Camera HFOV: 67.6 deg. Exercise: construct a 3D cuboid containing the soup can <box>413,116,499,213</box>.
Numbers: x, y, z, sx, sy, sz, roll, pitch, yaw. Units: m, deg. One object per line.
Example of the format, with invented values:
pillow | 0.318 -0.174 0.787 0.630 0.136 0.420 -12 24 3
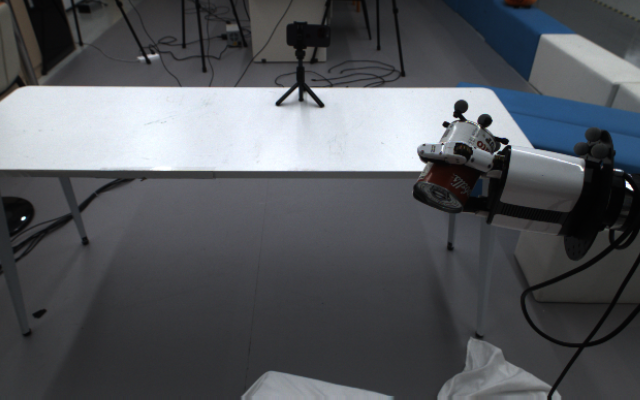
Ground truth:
soup can | 0.175 -0.044 0.618 0.067 0.067 0.101 23 73 28
